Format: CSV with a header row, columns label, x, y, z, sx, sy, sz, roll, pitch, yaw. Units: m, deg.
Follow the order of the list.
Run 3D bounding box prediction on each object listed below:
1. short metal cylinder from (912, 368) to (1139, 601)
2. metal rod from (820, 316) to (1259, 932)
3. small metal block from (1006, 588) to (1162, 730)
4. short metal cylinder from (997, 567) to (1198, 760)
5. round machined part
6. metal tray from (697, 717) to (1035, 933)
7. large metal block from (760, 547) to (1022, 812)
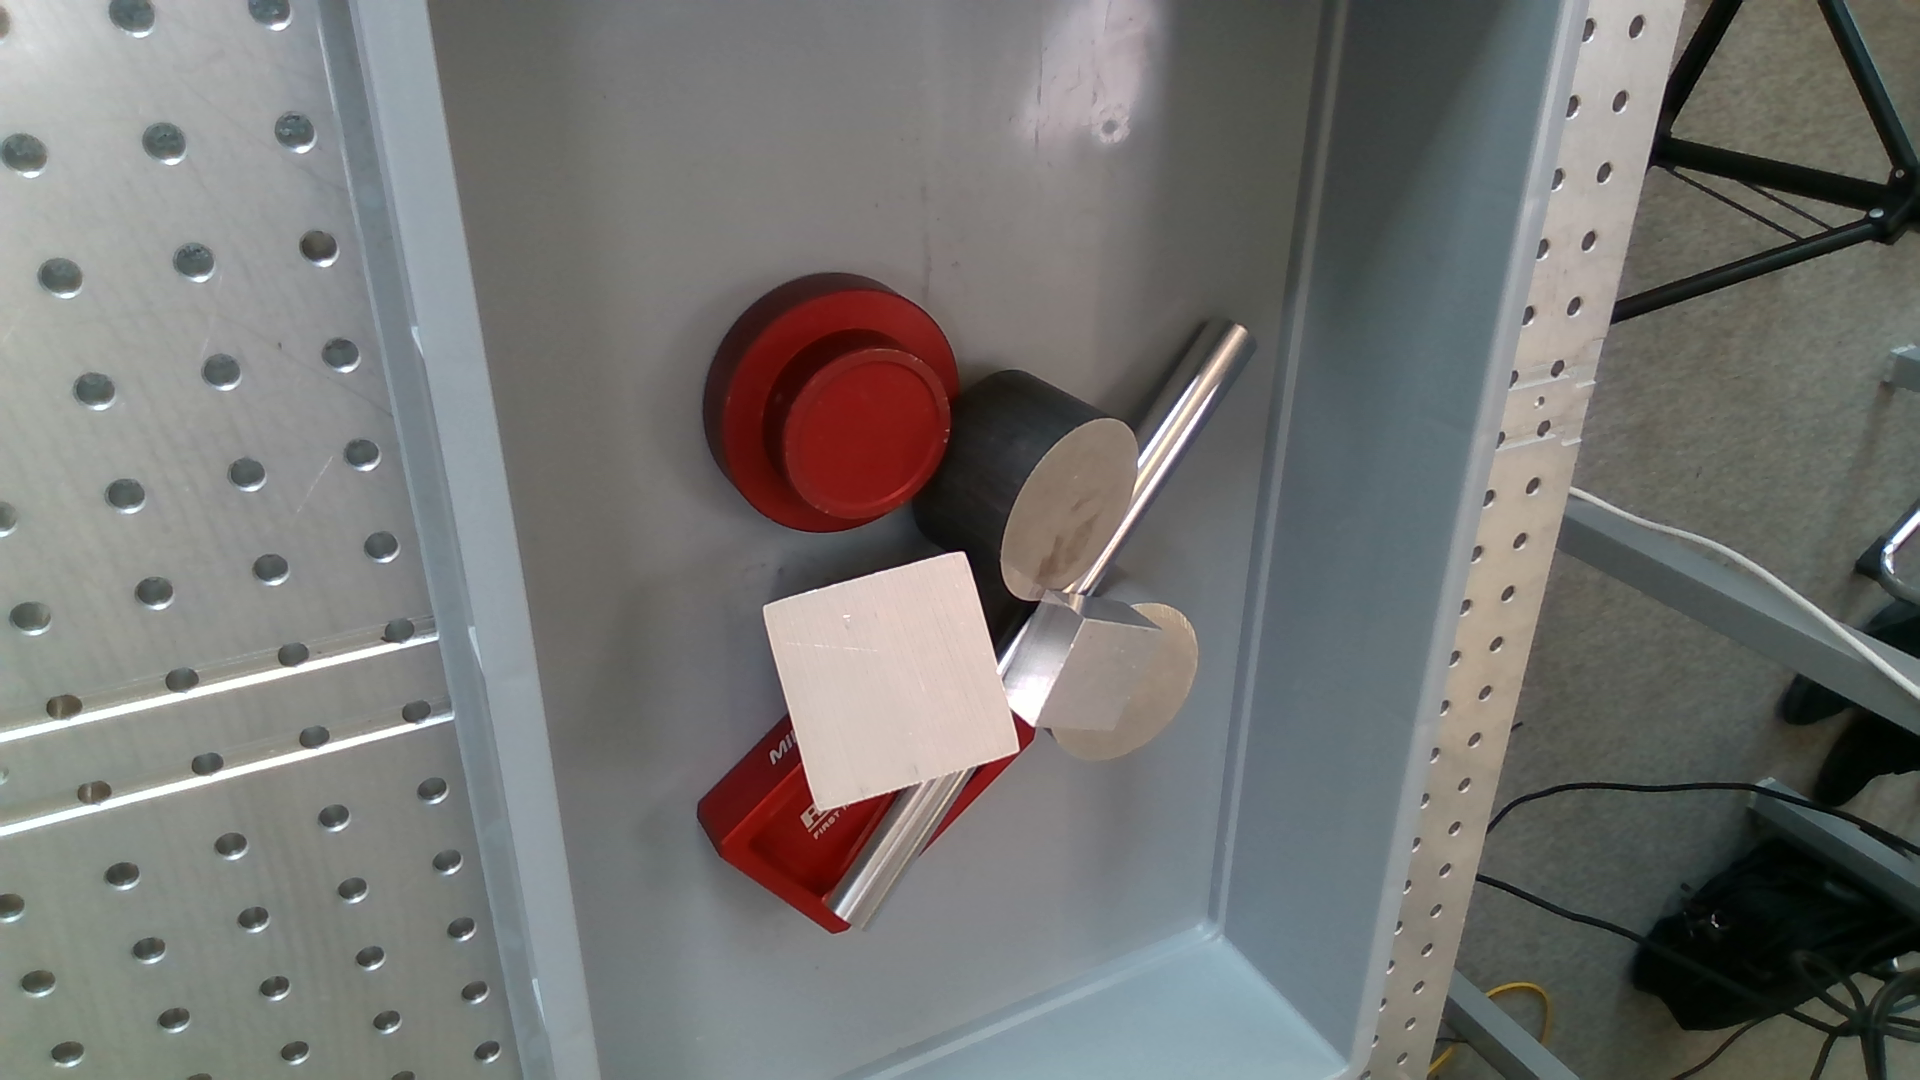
label,x,y,z,sx,sy,sz,roll,pitch,yaw
short metal cylinder,0.027,-0.022,0.554,0.080,0.050,0.080,-32,139,-33
metal rod,0.036,0.032,0.588,0.025,0.025,0.300,40,82,-39
small metal block,0.049,0.050,0.569,0.050,0.025,0.050,10,109,-44
short metal cylinder,0.061,0.053,0.631,0.080,0.050,0.080,-14,122,-25
round machined part,-0.043,-0.047,0.516,0.098,0.042,0.098,-14,122,-25
metal tray,-0.039,0.102,0.607,0.130,0.030,0.090,-45,129,-3
large metal block,-0.028,0.053,0.541,0.080,0.050,0.080,-16,89,-8
